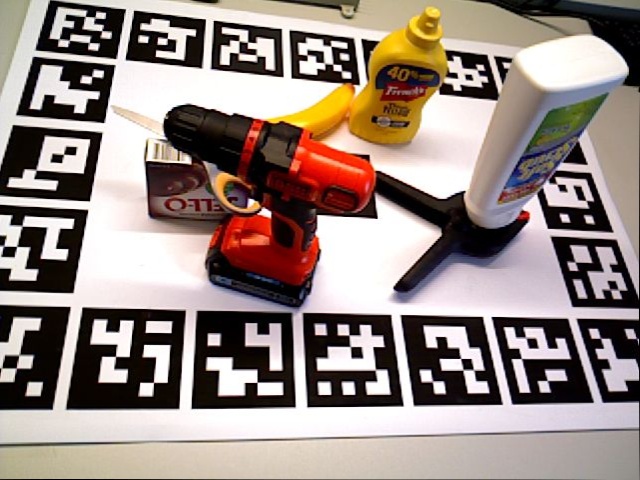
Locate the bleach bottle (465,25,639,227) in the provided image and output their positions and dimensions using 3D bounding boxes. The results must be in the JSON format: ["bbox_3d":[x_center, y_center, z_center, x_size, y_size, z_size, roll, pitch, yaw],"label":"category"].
[{"bbox_3d":[0.221,-0.093,0.574,0.101,0.256,0.067,-16,60,-15],"label":"bleach bottle"}]

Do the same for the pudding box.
[{"bbox_3d":[-0.139,-0.067,0.587,0.113,0.092,0.038,7,51,-10],"label":"pudding box"}]

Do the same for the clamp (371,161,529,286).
[{"bbox_3d":[0.166,-0.026,0.648,0.200,0.037,0.164,-2,63,-16],"label":"clamp"}]

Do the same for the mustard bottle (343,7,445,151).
[{"bbox_3d":[0.097,-0.194,0.661,0.096,0.196,0.057,16,56,-5],"label":"mustard bottle"}]

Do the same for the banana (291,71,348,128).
[{"bbox_3d":[-0.022,-0.179,0.703,0.193,0.039,0.074,-35,56,-28],"label":"banana"}]

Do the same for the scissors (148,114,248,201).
[{"bbox_3d":[-0.134,-0.108,0.534,0.202,0.016,0.086,27,62,-2],"label":"scissors"}]

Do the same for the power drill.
[{"bbox_3d":[-0.060,-0.032,0.492,0.184,0.191,0.056,14,50,-2],"label":"power drill"}]
